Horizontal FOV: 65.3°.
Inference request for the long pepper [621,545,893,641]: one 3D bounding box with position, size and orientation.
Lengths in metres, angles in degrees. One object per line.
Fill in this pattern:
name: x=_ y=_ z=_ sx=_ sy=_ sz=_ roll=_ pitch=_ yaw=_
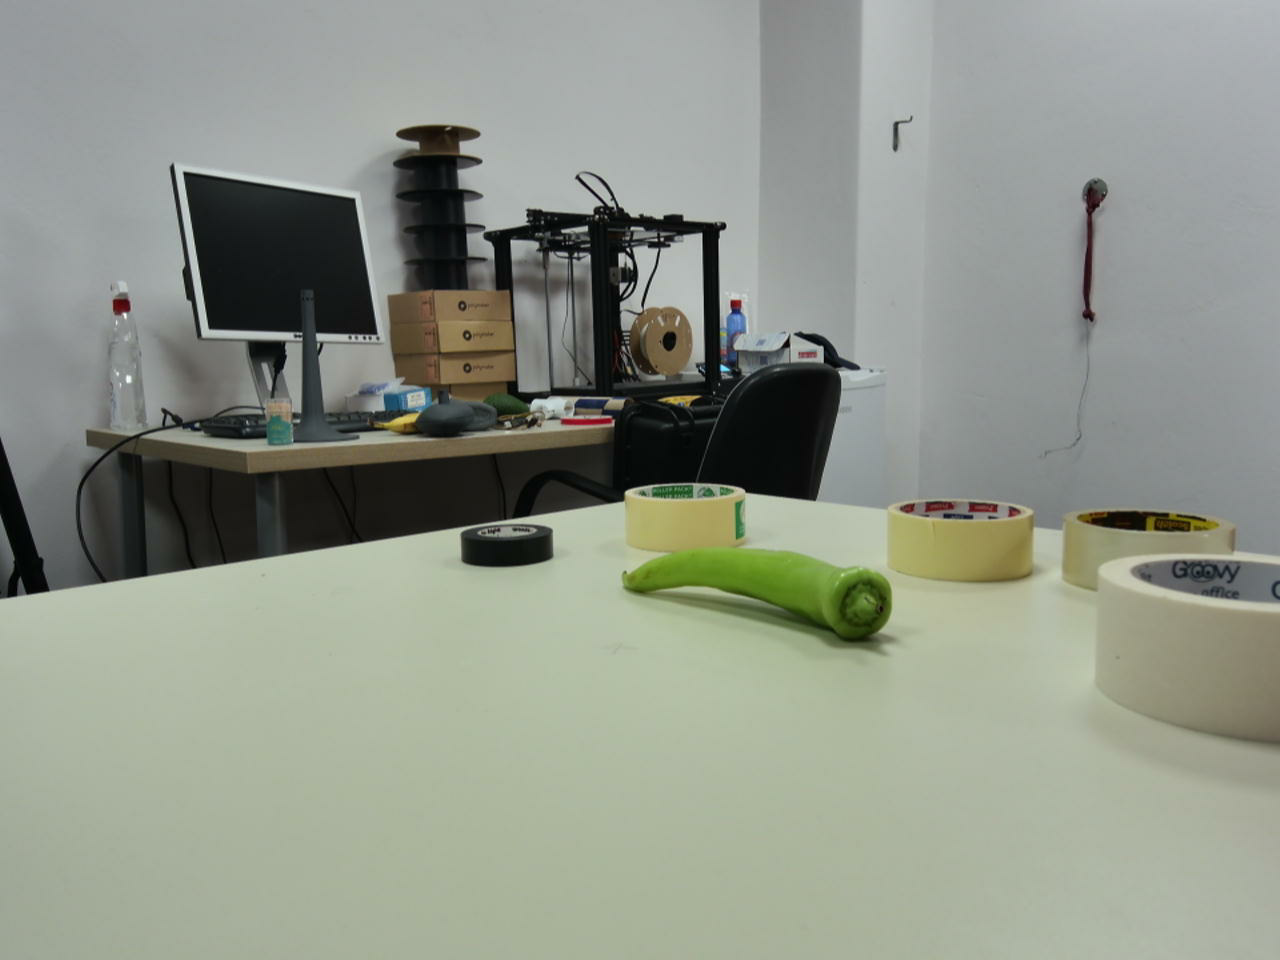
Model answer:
long pepper: x=0.062 y=0.055 z=0.560 sx=0.046 sy=0.038 sz=0.197 roll=-3 pitch=7 yaw=-40
